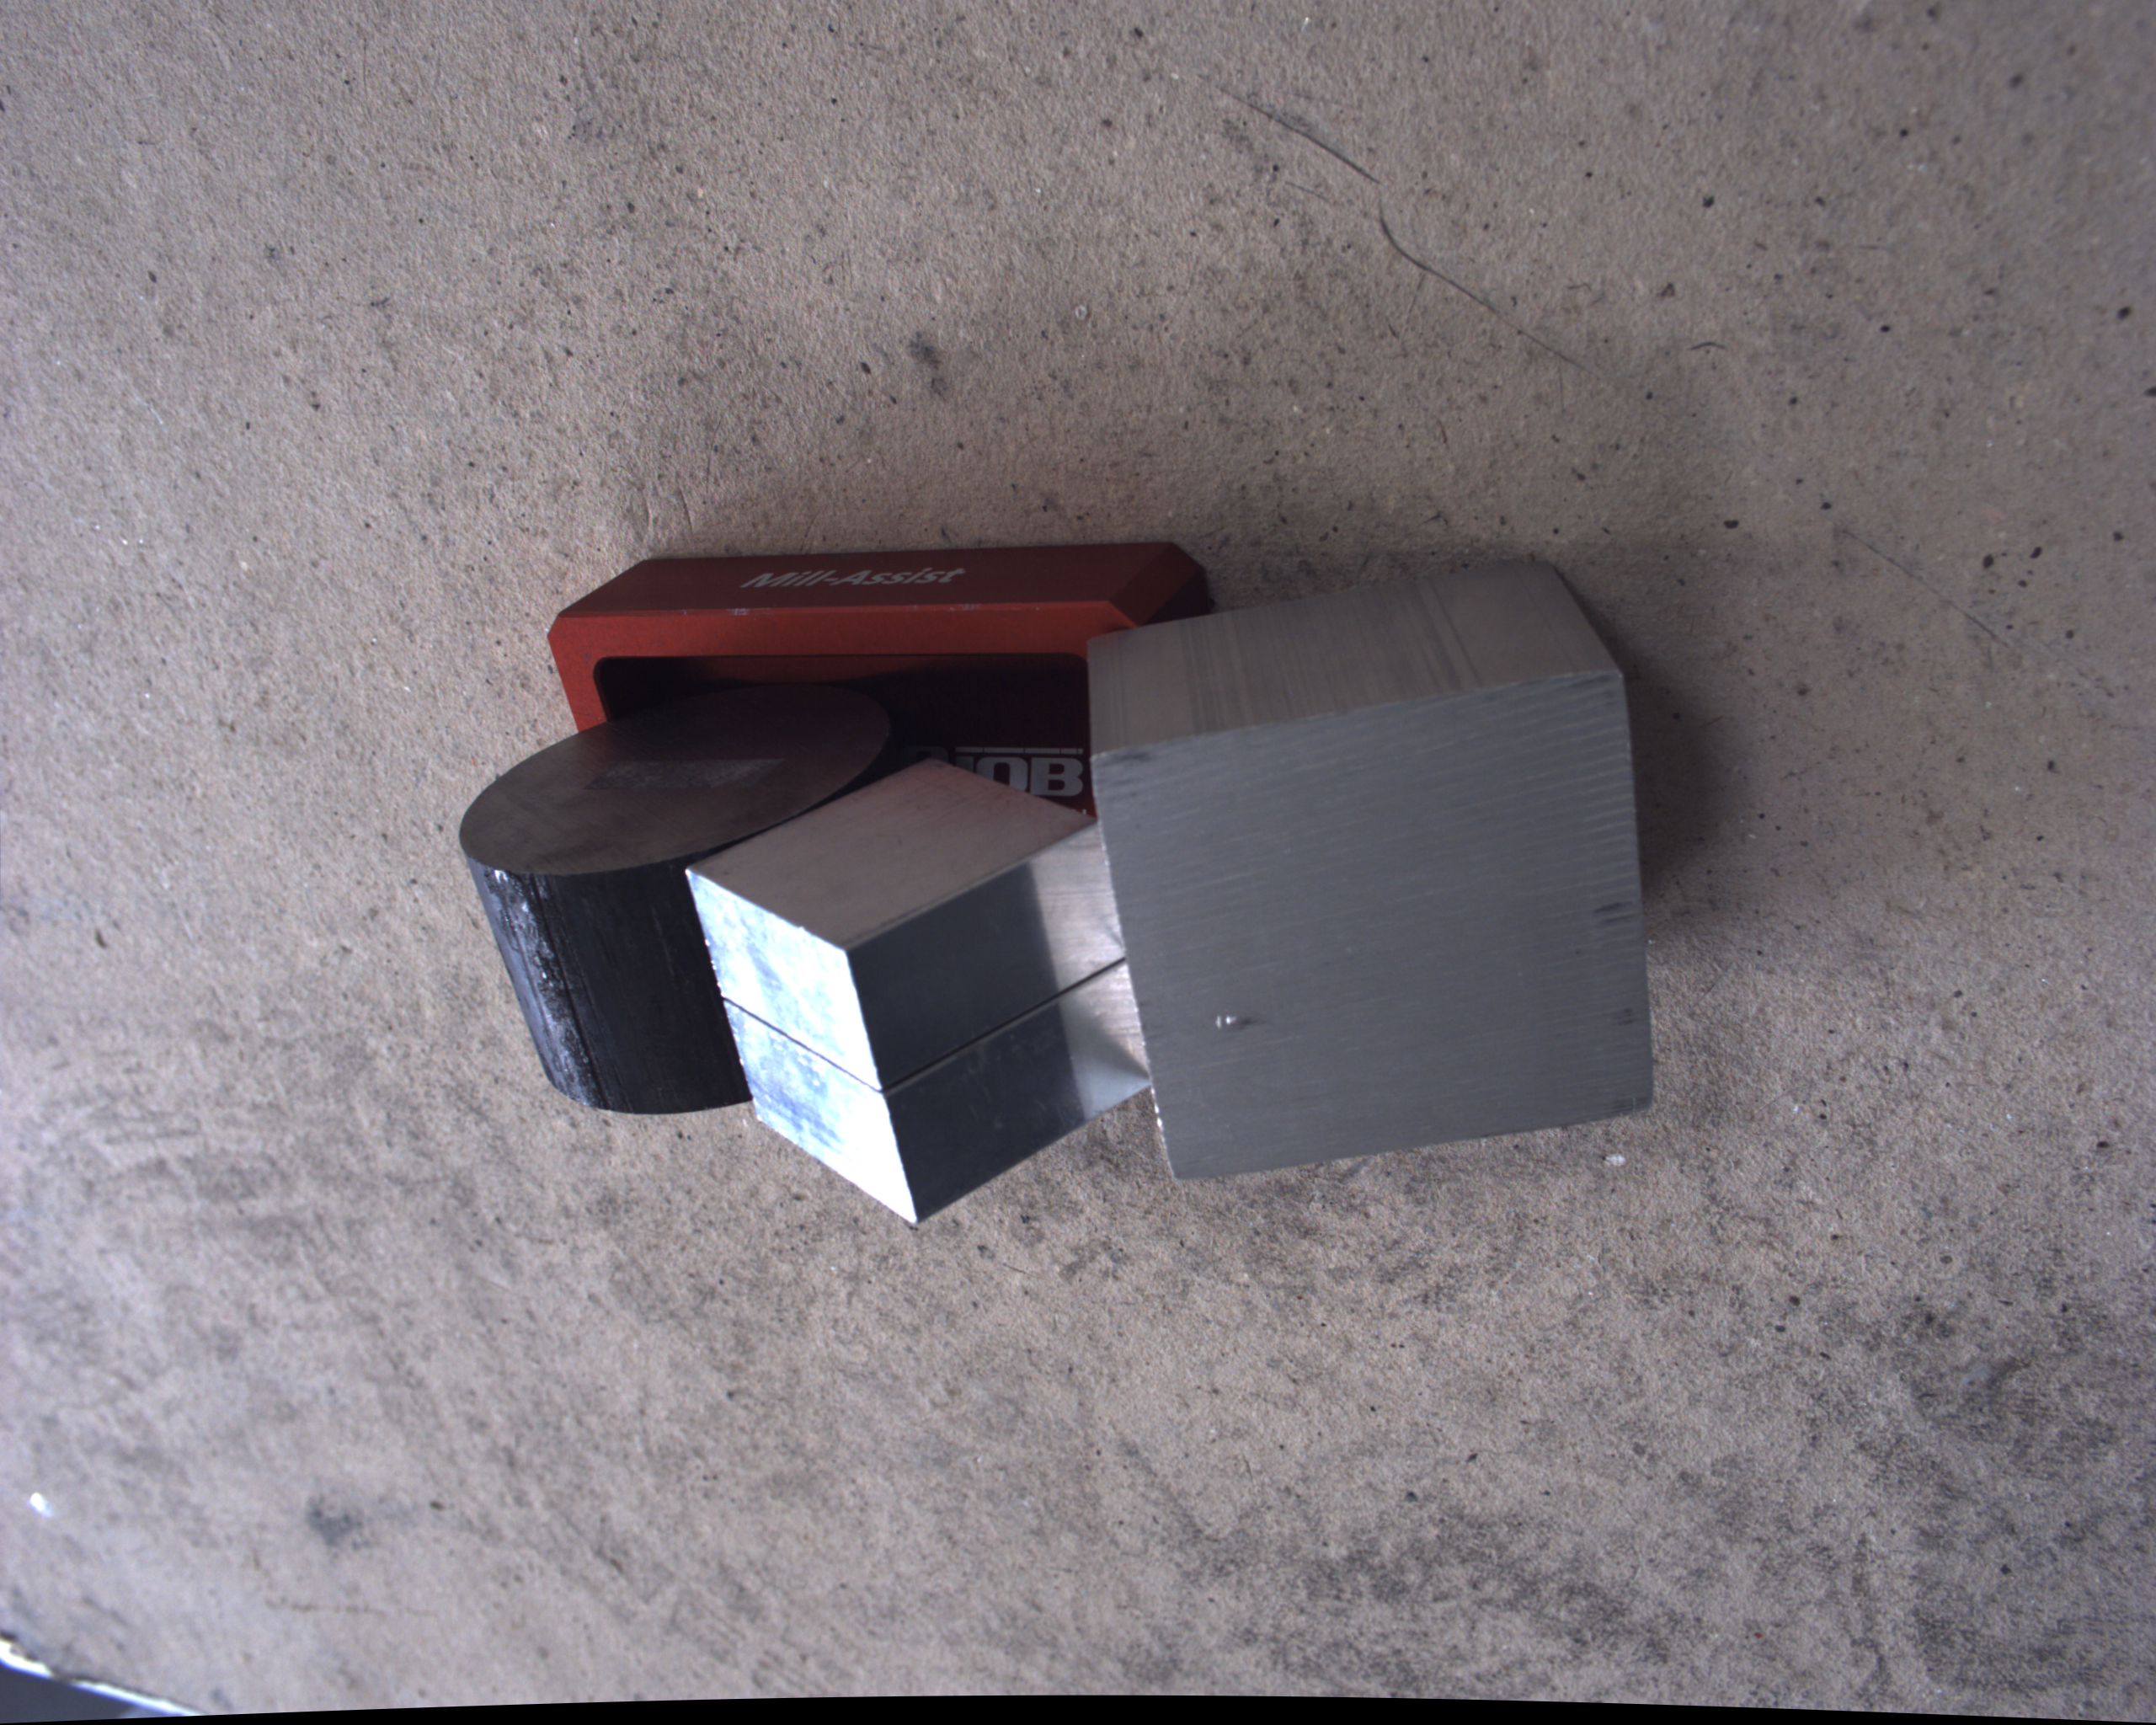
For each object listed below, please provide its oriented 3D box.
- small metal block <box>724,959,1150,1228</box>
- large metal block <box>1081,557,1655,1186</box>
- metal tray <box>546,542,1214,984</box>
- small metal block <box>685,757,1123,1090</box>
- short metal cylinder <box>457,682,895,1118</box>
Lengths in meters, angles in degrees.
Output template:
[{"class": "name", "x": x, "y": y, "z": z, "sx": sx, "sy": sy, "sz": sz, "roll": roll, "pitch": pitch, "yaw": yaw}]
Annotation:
[{"class": "small metal block", "x": -0.023, "y": 0.031, "z": 0.355, "sx": 0.050, "sy": 0.050, "sz": 0.025, "roll": 21, "pitch": 130, "yaw": 49}, {"class": "large metal block", "x": 0.048, "y": 0.001, "z": 0.349, "sx": 0.080, "sy": 0.050, "sz": 0.079, "roll": -10, "pitch": 117, "yaw": 3}, {"class": "metal tray", "x": -0.034, "y": -0.014, "z": 0.414, "sx": 0.130, "sy": 0.030, "sz": 0.089, "roll": 2, "pitch": 120, "yaw": 27}, {"class": "small metal block", "x": -0.028, "y": 0.008, "z": 0.344, "sx": 0.050, "sy": 0.050, "sz": 0.025, "roll": 21, "pitch": 130, "yaw": 49}, {"class": "short metal cylinder", "x": -0.070, "y": 0.005, "z": 0.396, "sx": 0.080, "sy": 0.080, "sz": 0.050, "roll": 1, "pitch": 119, "yaw": 27}]
